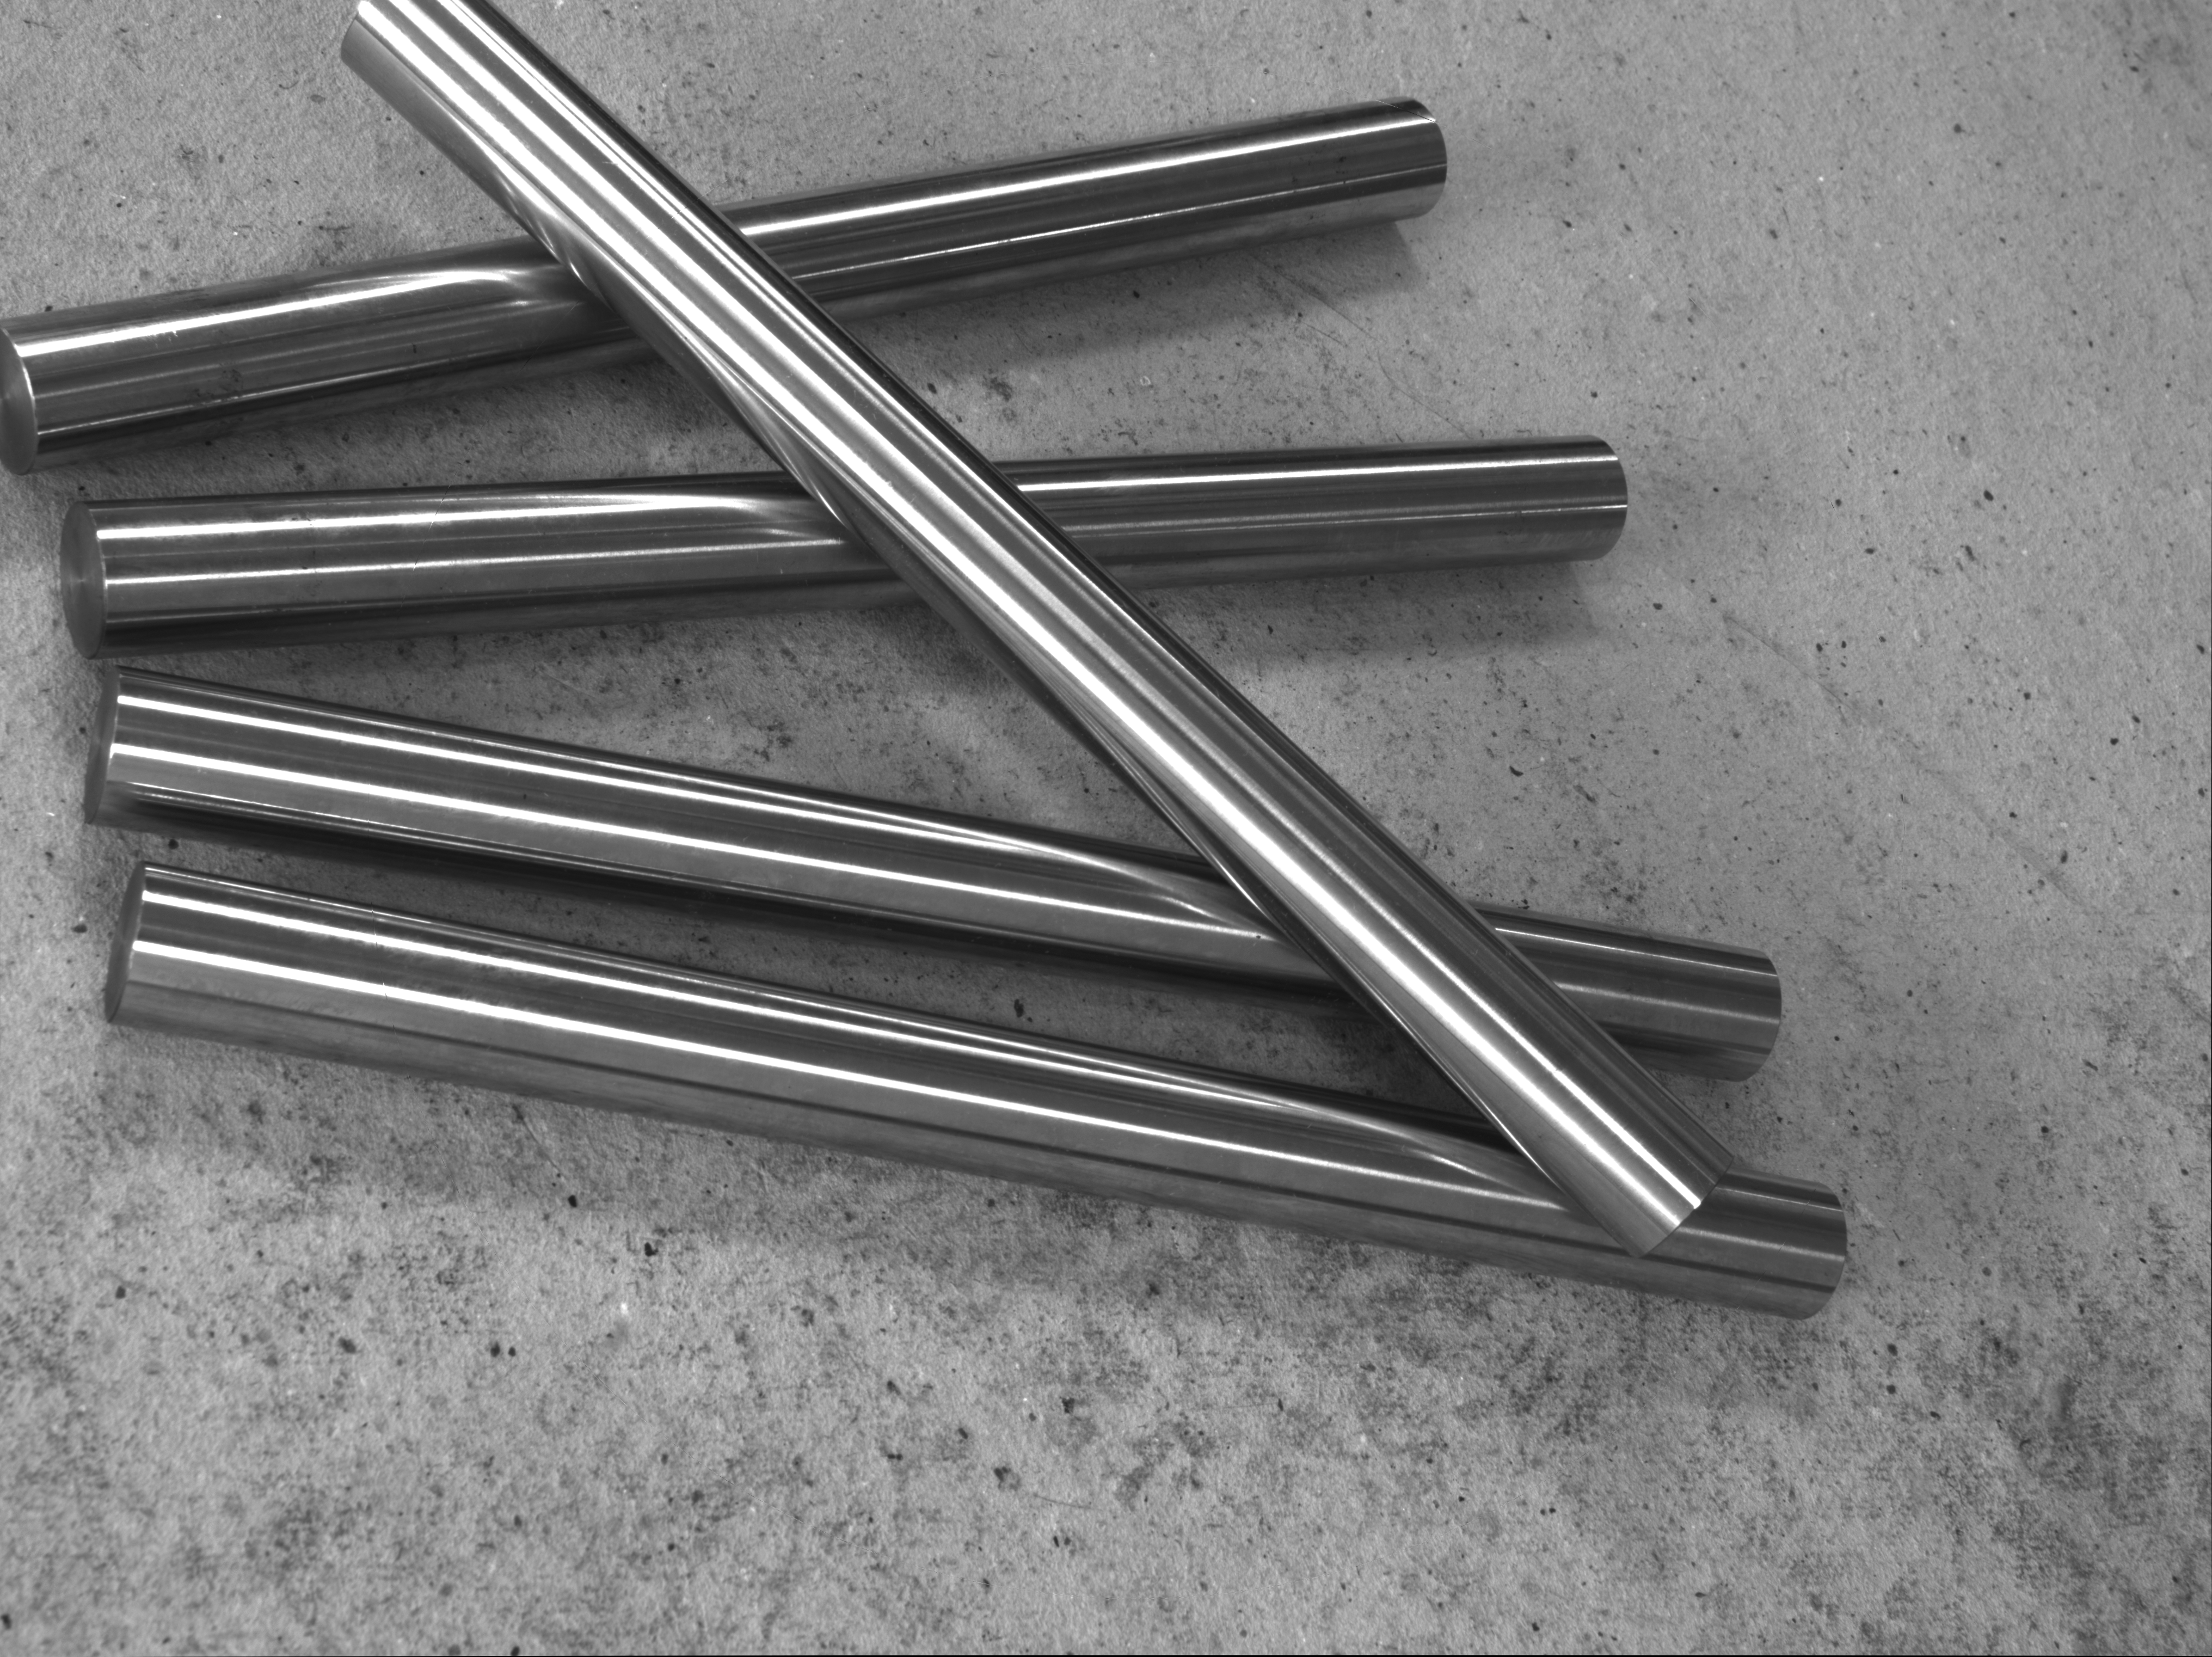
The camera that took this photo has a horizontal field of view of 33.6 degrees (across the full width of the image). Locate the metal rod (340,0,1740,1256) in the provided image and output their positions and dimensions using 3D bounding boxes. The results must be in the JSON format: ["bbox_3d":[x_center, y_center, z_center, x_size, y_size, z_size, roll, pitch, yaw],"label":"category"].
[{"bbox_3d":[-0.012,-0.039,0.623,0.300,0.025,0.025,43,51,1],"label":"metal rod"}]

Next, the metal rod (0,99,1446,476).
[{"bbox_3d":[-0.057,-0.103,0.672,0.301,0.025,0.025,-16,70,-35],"label":"metal rod"}]

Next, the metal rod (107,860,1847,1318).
[{"bbox_3d":[-0.011,0.046,0.605,0.301,0.025,0.025,12,56,-22],"label":"metal rod"}]

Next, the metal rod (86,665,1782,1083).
[{"bbox_3d":[-0.018,0.011,0.622,0.301,0.025,0.025,10,57,-23],"label":"metal rod"}]

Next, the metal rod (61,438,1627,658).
[{"bbox_3d":[-0.032,-0.052,0.654,0.301,0.025,0.025,-6,64,-31],"label":"metal rod"}]
